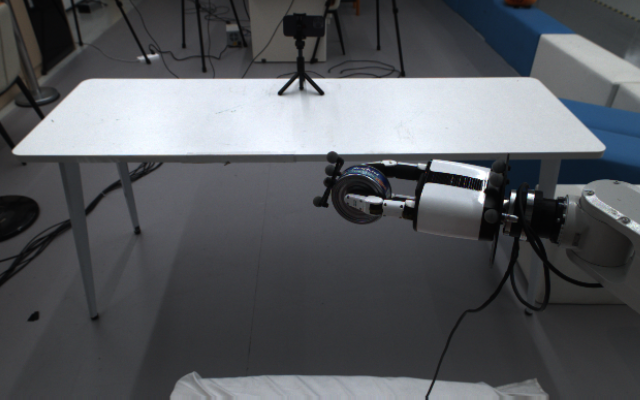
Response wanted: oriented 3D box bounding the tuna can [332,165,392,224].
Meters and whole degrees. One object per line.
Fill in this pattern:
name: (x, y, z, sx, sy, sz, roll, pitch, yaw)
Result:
tuna can: (0.062, -0.008, 0.717, 0.085, 0.085, 0.034, 12, 30, 14)
